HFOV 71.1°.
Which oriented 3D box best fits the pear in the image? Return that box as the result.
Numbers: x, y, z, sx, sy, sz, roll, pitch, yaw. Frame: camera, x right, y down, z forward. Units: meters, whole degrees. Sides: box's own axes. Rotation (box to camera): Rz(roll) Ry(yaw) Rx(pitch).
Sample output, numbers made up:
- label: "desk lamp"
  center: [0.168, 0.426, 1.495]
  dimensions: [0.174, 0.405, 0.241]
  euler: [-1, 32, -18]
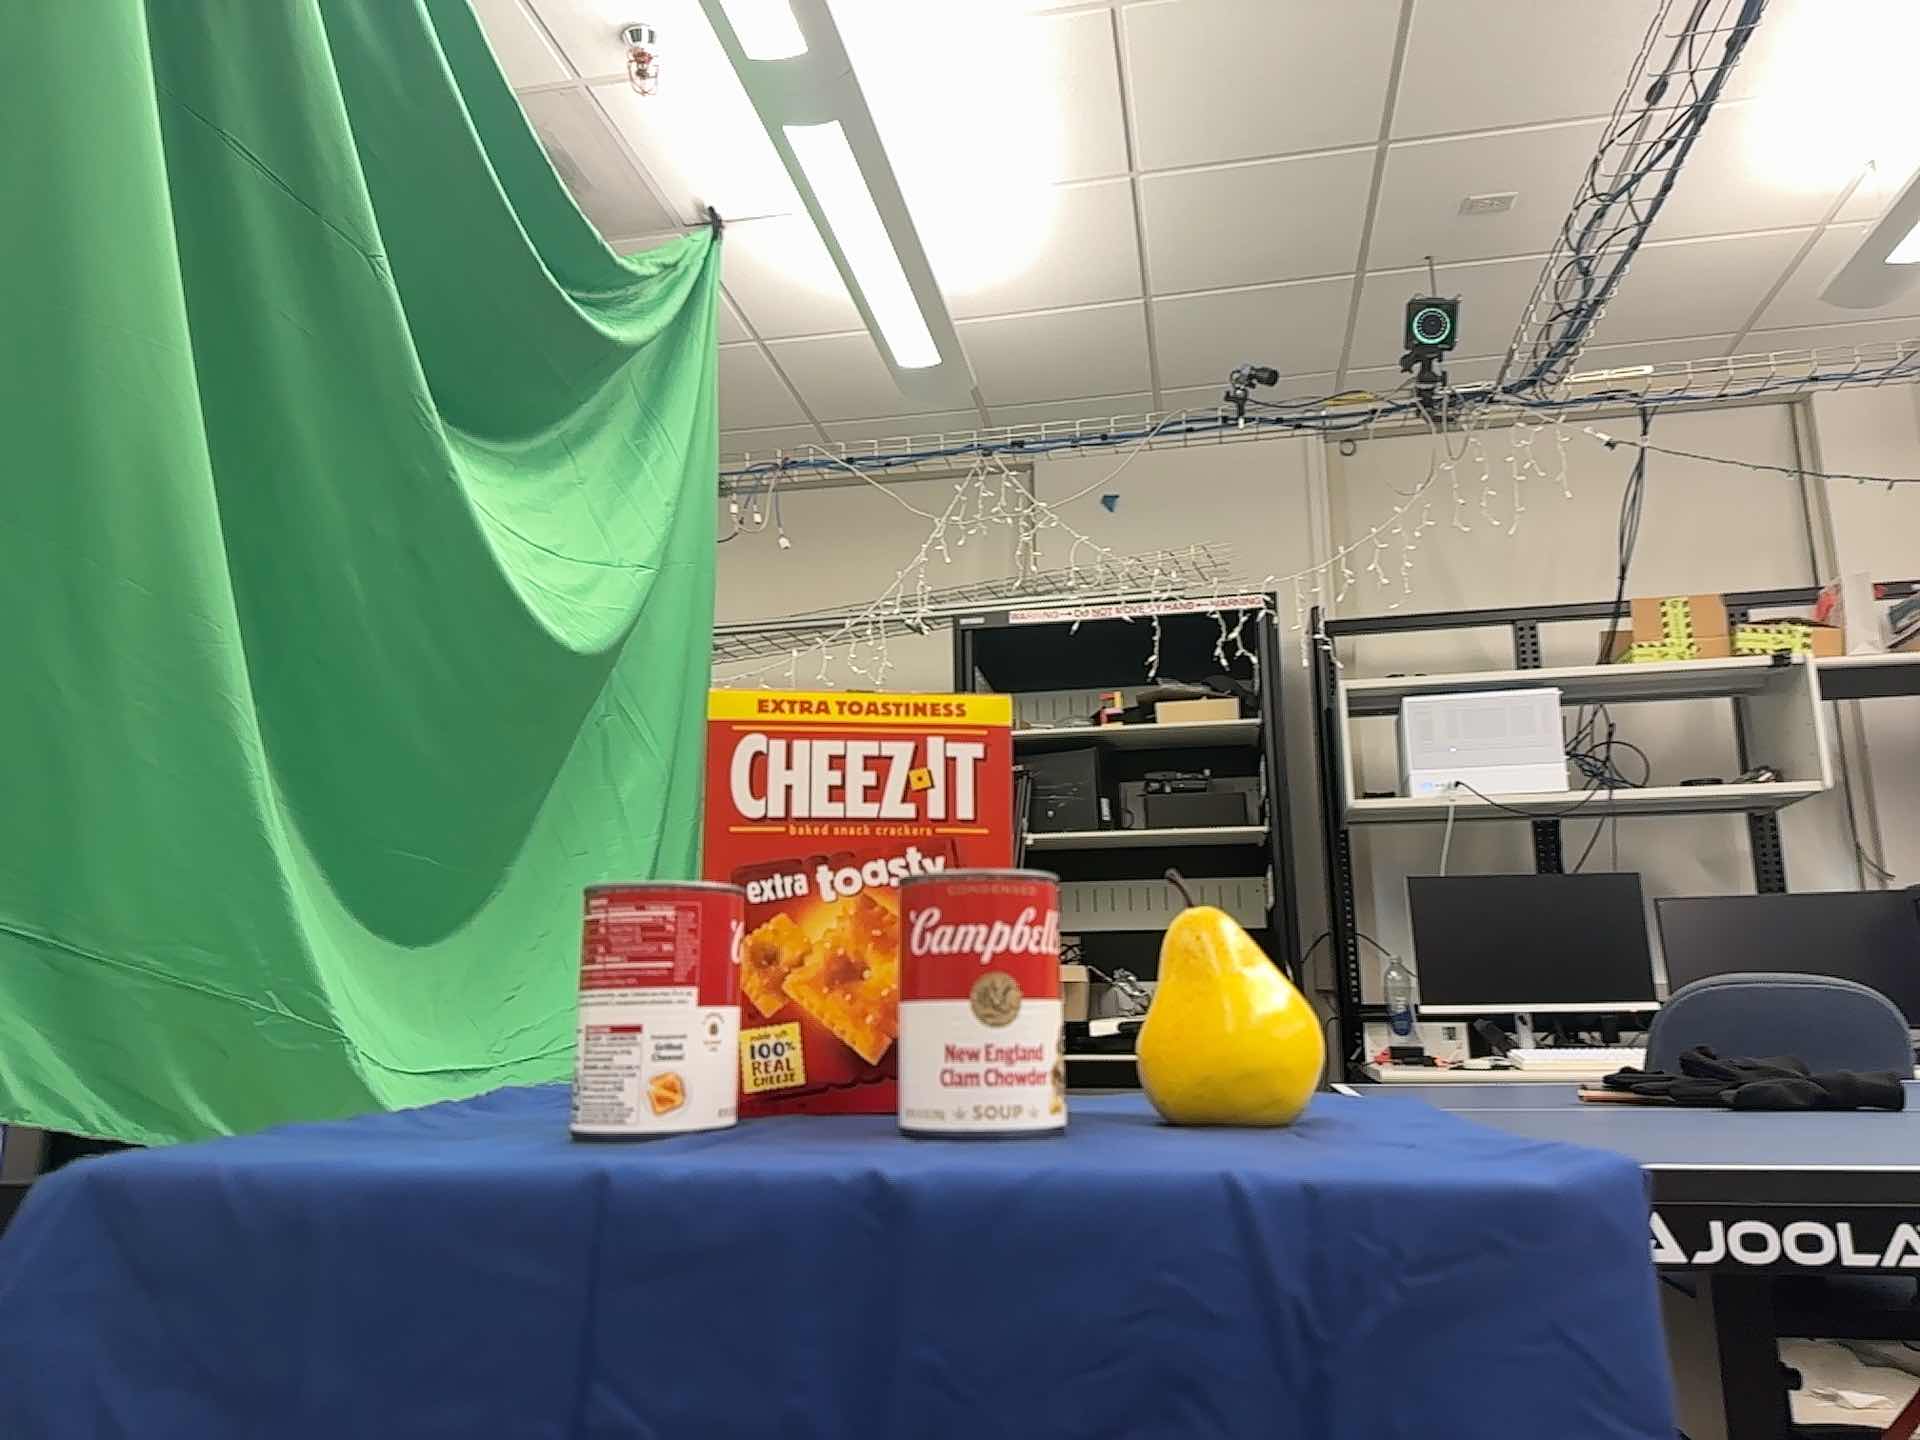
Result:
- label: "pear"
  center: [0.114, 0.119, 0.582]
  dimensions: [0.080, 0.111, 0.080]
  euler: [2, -11, 0]

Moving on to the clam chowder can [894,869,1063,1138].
- label: "clam chowder can"
  center: [0.007, 0.114, 0.547]
  dimensions: [0.068, 0.102, 0.068]
  euler: [-1, -12, 0]

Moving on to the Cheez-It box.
- label: "Cheez-It box"
  center: [-0.057, 0.094, 0.716]
  dimensions: [0.159, 0.214, 0.062]
  euler: [1, -11, -7]

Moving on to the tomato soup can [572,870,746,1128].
- label: "tomato soup can"
  center: [-0.127, 0.117, 0.566]
  dimensions: [0.067, 0.102, 0.067]
  euler: [0, -13, 0]
